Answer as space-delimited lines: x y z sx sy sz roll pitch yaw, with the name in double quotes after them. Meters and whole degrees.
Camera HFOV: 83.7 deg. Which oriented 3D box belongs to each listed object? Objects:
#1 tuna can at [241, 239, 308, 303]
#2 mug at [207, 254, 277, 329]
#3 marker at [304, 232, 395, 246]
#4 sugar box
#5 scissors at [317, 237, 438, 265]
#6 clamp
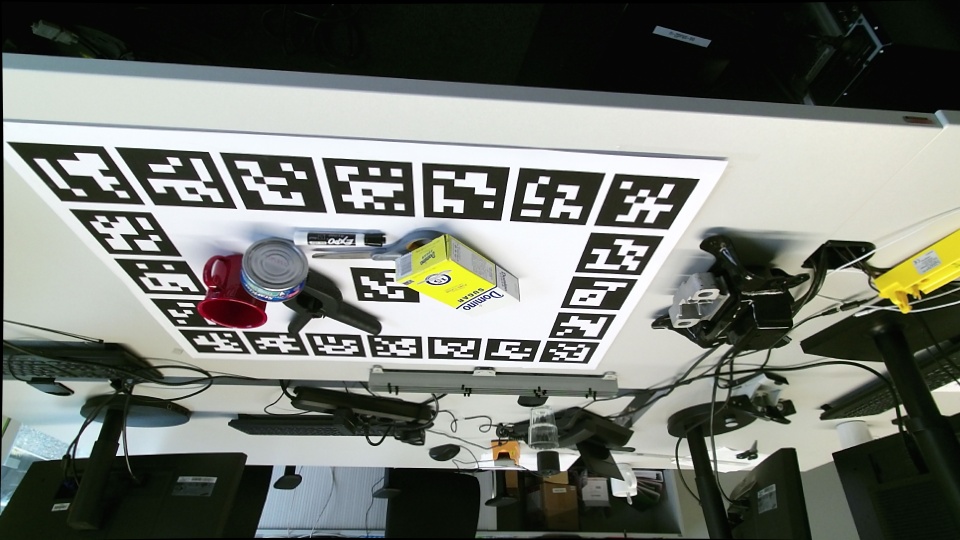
-0.283 0.000 0.740 0.086 0.085 0.034 13 143 -17 "tuna can"
-0.346 0.025 0.783 0.093 0.081 0.117 -14 146 19 "mug"
-0.178 -0.042 0.736 0.121 0.019 0.020 0 144 -1 "marker"
-0.030 0.016 0.786 0.093 0.045 0.177 -20 146 27 "sugar box"
-0.135 -0.015 0.771 0.203 0.016 0.088 -3 148 7 "scissors"
-0.261 0.057 0.879 0.166 0.036 0.203 -3 143 6 "clamp"
